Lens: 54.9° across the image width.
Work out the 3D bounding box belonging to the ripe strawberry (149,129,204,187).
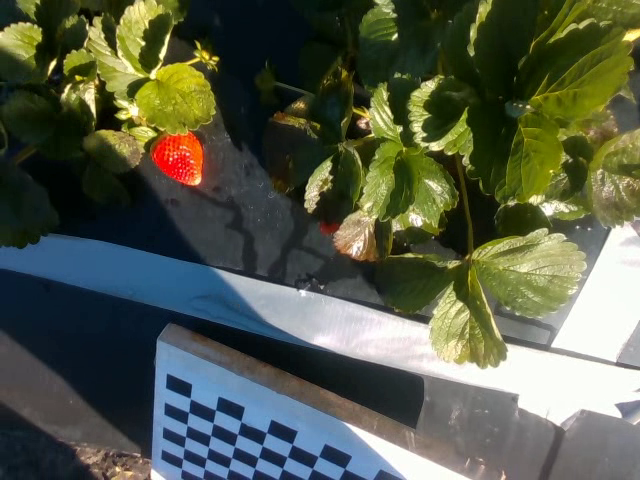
[{"bbox_3d":[-0.113,-0.065,0.499,0.045,0.059,0.042,-37,-1,42],"label":"ripe strawberry"}]
